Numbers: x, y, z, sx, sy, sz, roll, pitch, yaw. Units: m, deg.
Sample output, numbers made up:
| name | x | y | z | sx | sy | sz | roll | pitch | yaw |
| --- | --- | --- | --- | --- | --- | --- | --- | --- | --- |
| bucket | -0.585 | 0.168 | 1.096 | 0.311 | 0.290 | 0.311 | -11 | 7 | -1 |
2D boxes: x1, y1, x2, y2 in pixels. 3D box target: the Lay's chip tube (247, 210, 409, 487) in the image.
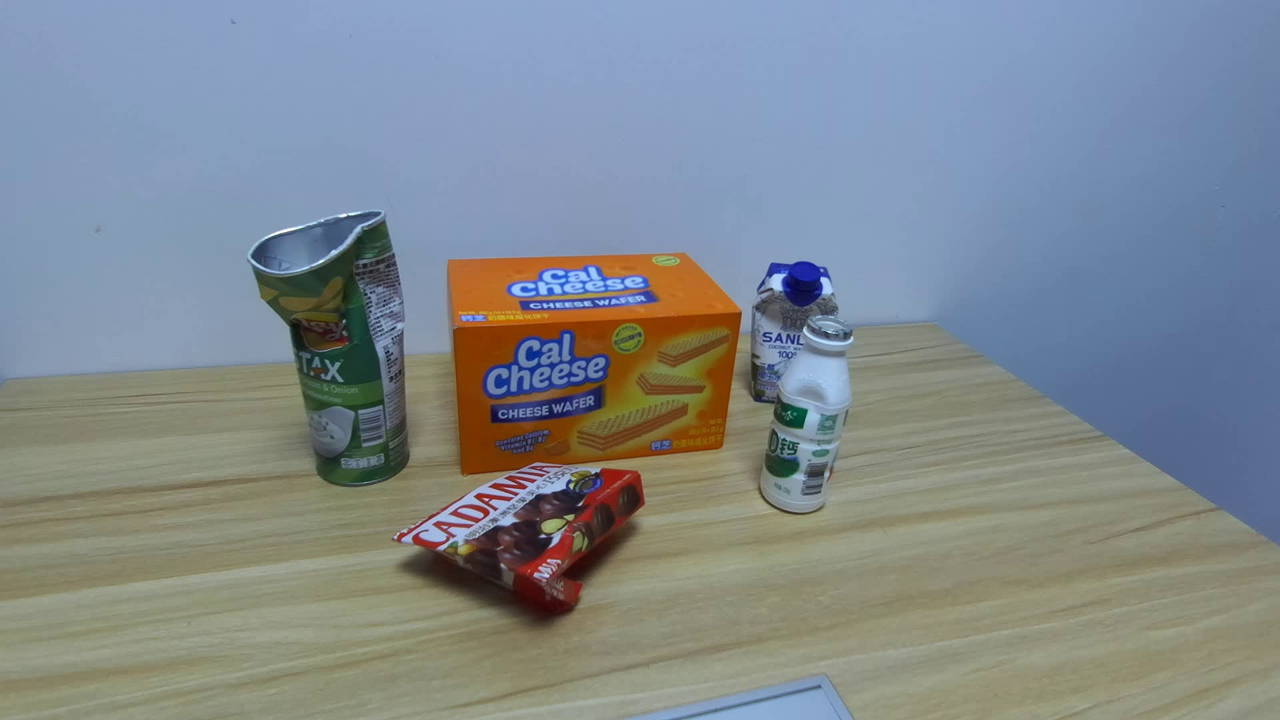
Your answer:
| name | x | y | z | sx | sy | sz | roll | pitch | yaw |
| --- | --- | --- | --- | --- | --- | --- | --- | --- | --- |
| Lay's chip tube | -0.210 | -0.002 | 0.499 | 0.079 | 0.199 | 0.071 | 2 | 35 | -2 |

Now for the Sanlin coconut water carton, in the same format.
| name | x | y | z | sx | sy | sz | roll | pitch | yaw |
| --- | --- | --- | --- | --- | --- | --- | --- | --- | --- |
| Sanlin coconut water carton | 0.141 | -0.028 | 0.659 | 0.078 | 0.142 | 0.057 | 6 | 33 | 4 |

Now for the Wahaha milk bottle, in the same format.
| name | x | y | z | sx | sy | sz | roll | pitch | yaw |
| --- | --- | --- | --- | --- | --- | --- | --- | --- | --- |
| Wahaha milk bottle | 0.122 | 0.046 | 0.514 | 0.053 | 0.136 | 0.053 | 5 | 26 | -2 |

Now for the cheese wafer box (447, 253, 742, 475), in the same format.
| name | x | y | z | sx | sy | sz | roll | pitch | yaw |
| --- | --- | --- | --- | --- | --- | --- | --- | --- | --- |
| cheese wafer box | -0.046 | -0.005 | 0.602 | 0.222 | 0.129 | 0.147 | -4 | 28 | -16 |

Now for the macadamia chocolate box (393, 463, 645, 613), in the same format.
| name | x | y | z | sx | sy | sz | roll | pitch | yaw |
| --- | --- | --- | --- | --- | --- | --- | --- | --- | --- |
| macadamia chocolate box | -0.072 | 0.105 | 0.461 | 0.111 | 0.056 | 0.127 | 18 | 30 | 23 |
